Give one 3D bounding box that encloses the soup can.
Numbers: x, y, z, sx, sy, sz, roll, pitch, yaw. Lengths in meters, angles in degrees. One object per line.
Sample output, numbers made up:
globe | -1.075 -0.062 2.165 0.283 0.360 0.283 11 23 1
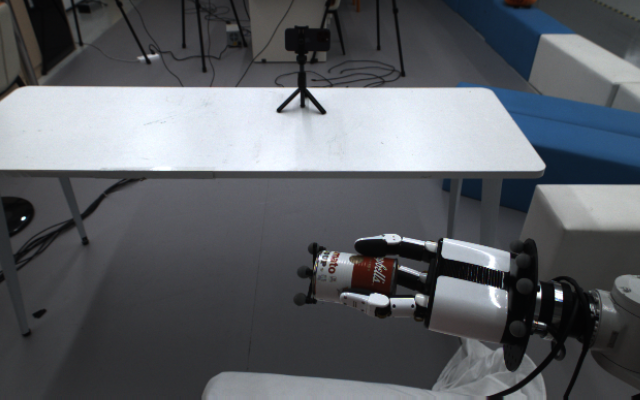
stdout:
soup can | 0.050 0.103 0.629 0.101 0.067 0.067 5 34 13
